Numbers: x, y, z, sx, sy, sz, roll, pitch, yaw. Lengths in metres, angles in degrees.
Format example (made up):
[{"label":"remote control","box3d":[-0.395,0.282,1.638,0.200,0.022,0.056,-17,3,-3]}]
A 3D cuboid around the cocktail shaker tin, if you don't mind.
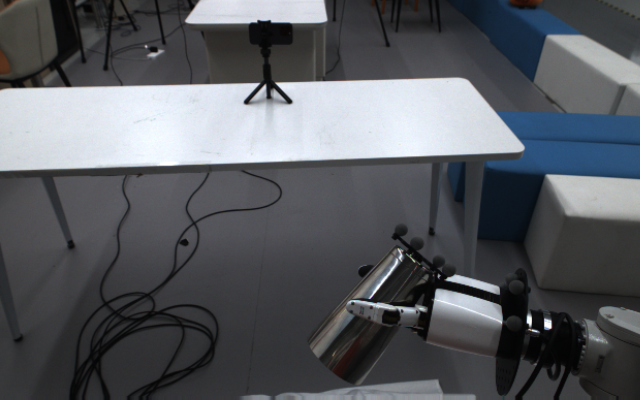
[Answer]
[{"label":"cocktail shaker tin","box3d":[0.073,0.141,0.638,0.170,0.093,0.093,-50,47,3]}]
